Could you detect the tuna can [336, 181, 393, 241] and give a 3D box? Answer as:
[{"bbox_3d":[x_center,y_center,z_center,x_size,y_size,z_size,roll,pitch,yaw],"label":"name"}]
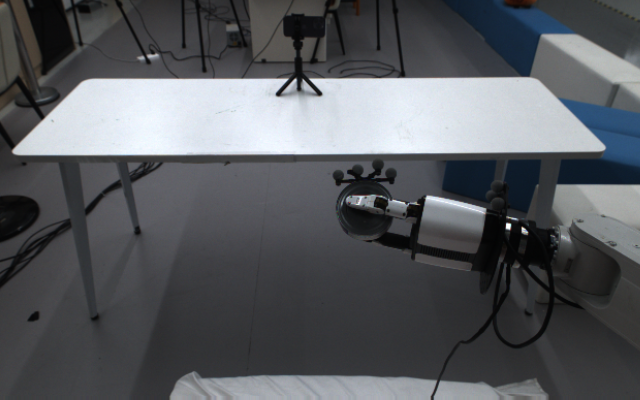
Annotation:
[{"bbox_3d":[0.068,0.015,0.715,0.085,0.034,0.085,-2,69,6],"label":"tuna can"}]
